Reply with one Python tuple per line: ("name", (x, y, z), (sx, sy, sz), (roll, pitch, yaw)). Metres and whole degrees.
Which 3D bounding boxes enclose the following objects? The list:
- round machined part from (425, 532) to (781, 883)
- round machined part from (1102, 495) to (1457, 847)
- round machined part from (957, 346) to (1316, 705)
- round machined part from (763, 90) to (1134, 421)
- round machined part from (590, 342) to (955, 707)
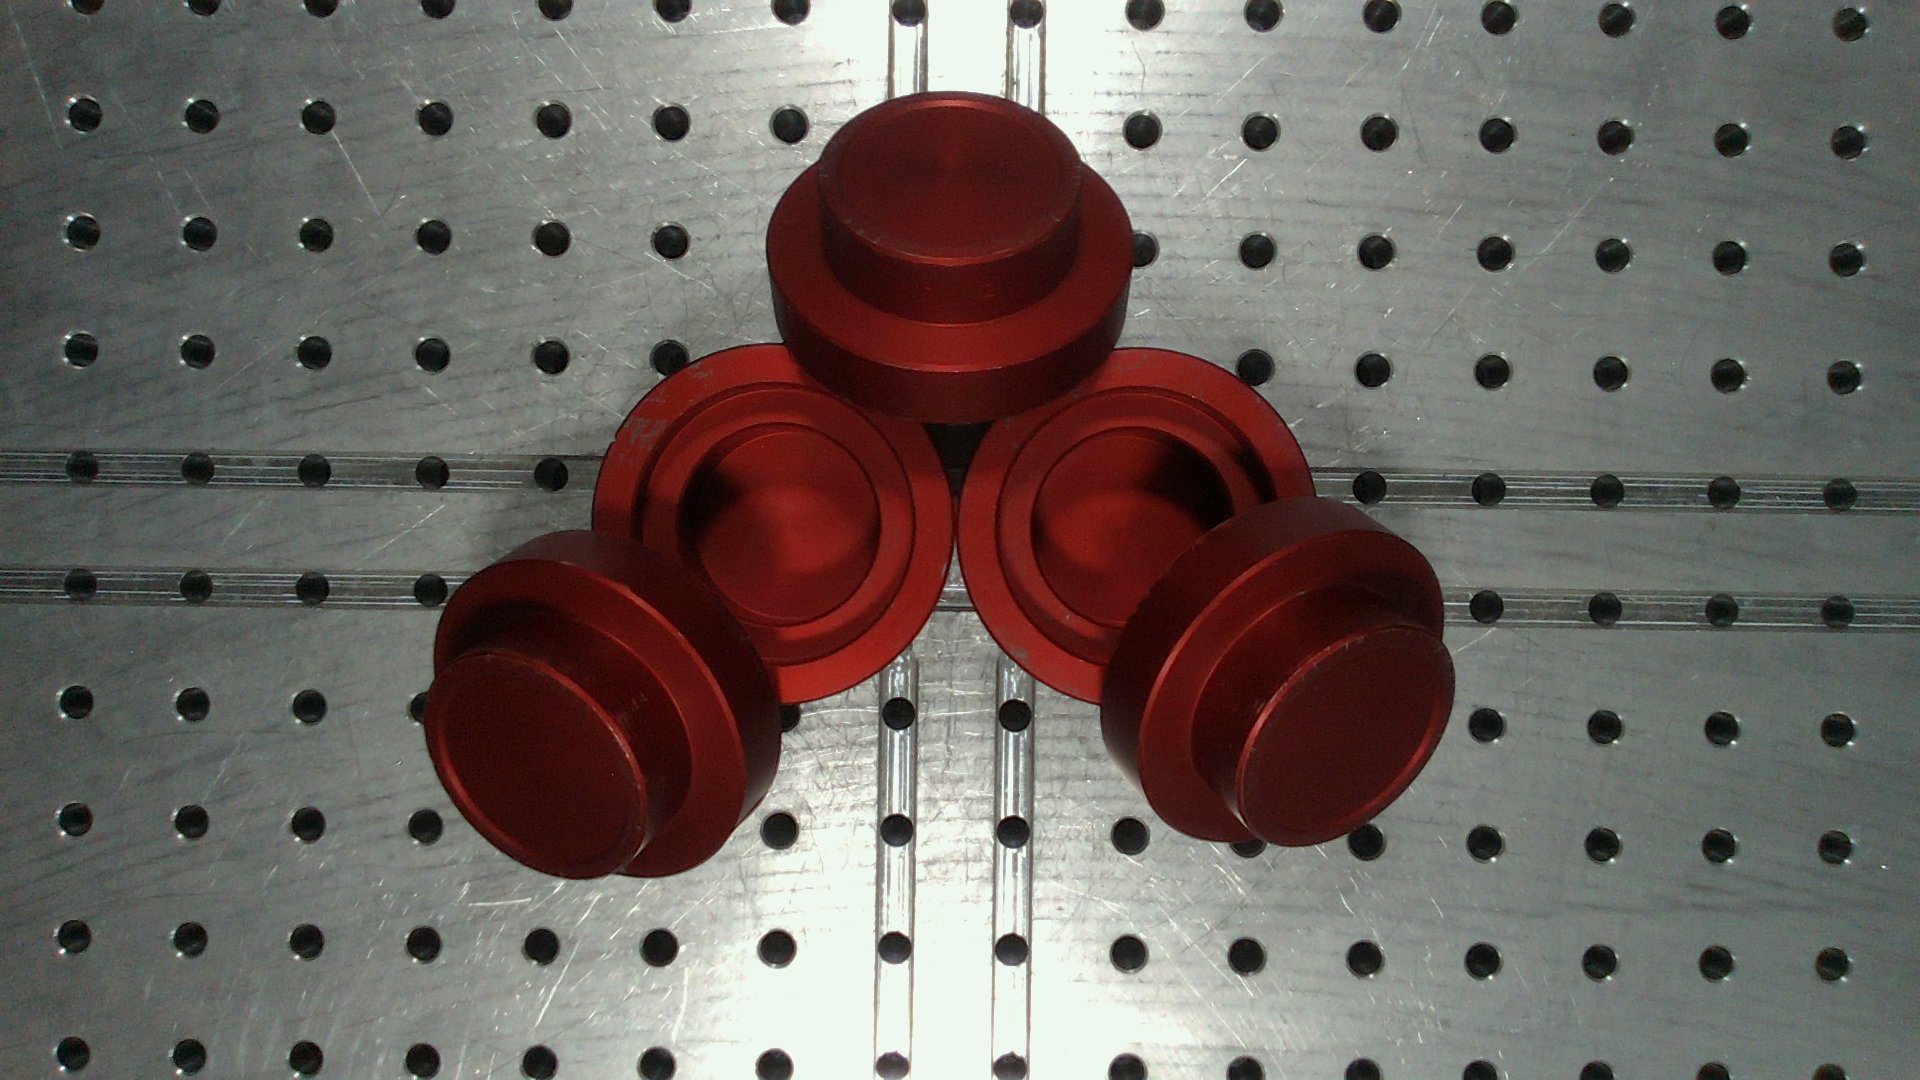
("round machined part", (-0.101, 0.051, 0.366), (0.098, 0.042, 0.098), (10, 119, 20))
("round machined part", (0.090, 0.041, 0.363), (0.098, 0.042, 0.098), (-13, 122, -22))
("round machined part", (0.048, -0.003, 0.389), (0.098, 0.042, 0.098), (0, 90, 0))
("round machined part", (-0.003, -0.081, 0.363), (0.098, 0.042, 0.098), (0, 52, 0))
("round machined part", (-0.050, -0.004, 0.388), (0.098, 0.042, 0.098), (0, 90, 0))
